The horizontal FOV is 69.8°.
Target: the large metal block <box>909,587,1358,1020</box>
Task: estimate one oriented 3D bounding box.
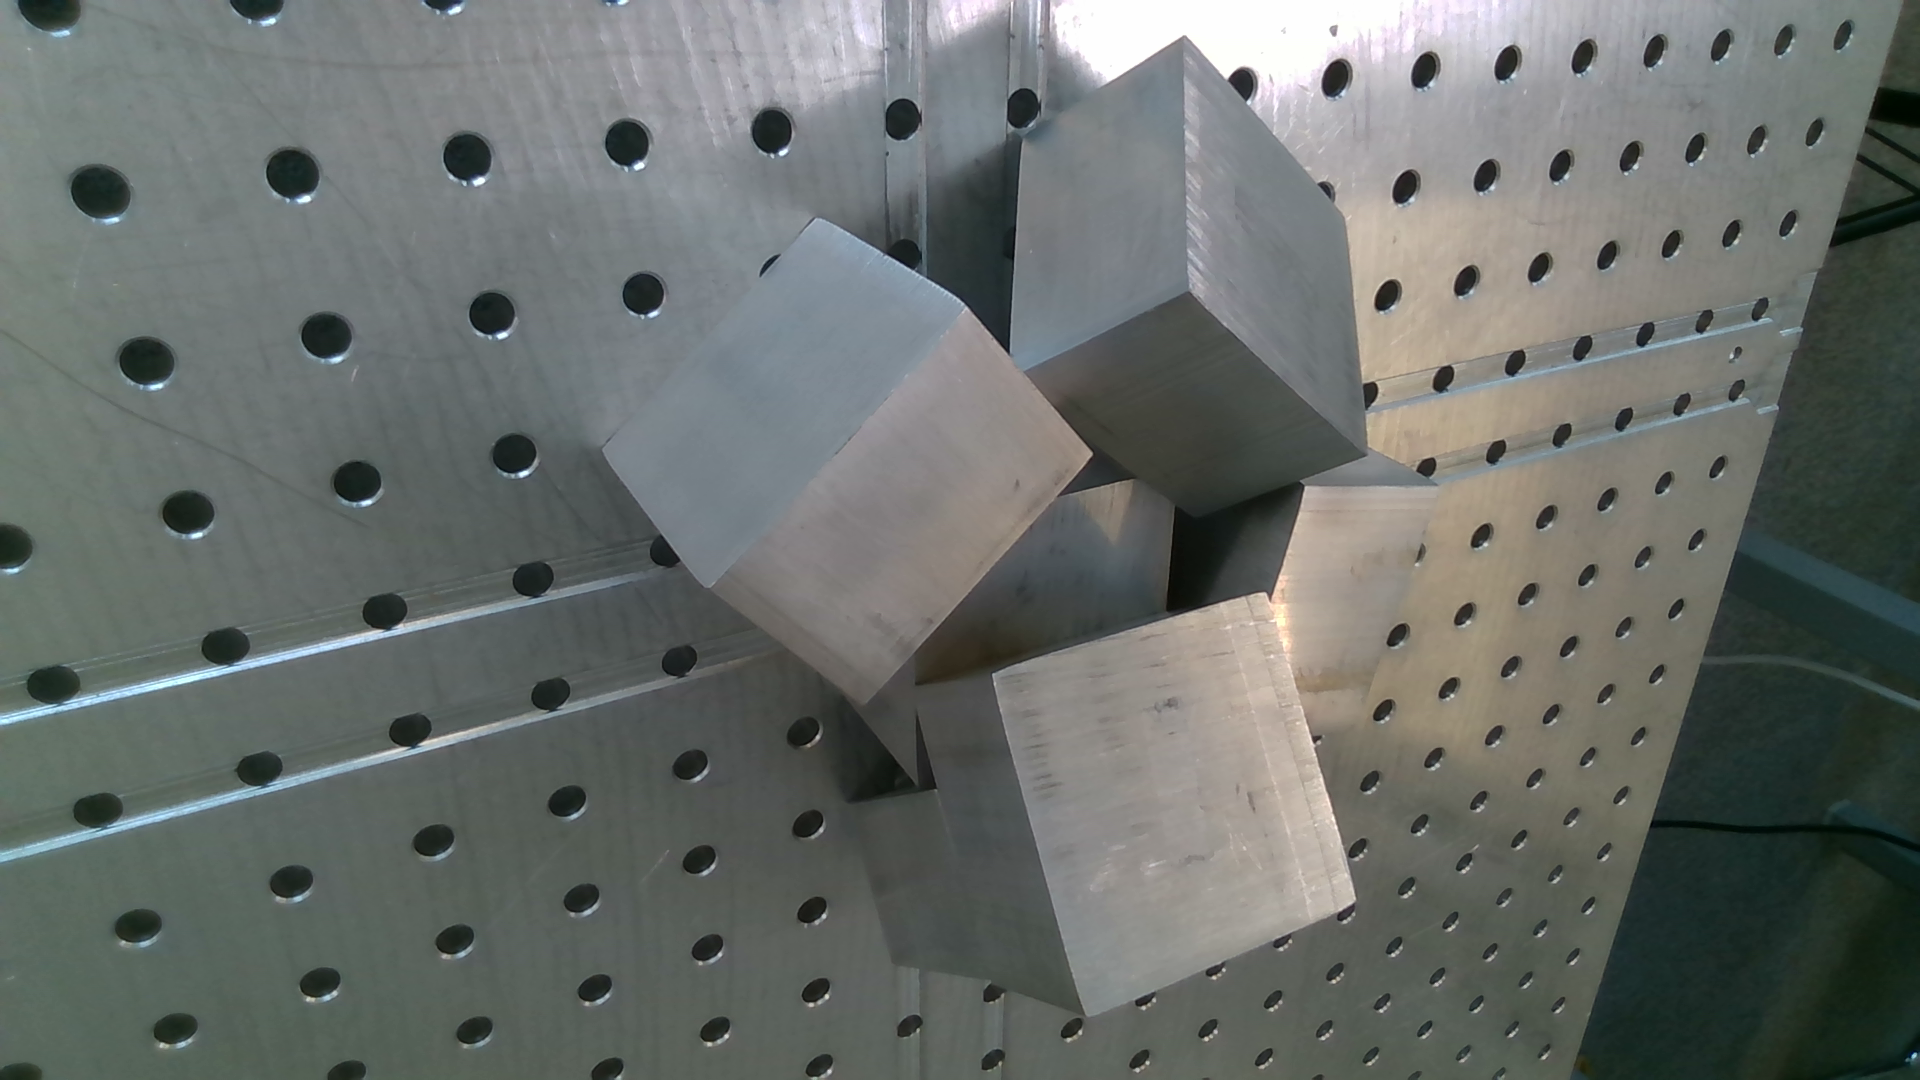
[{"bbox_3d":[0.043,0.063,0.347,0.080,0.050,0.080,-14,87,-26],"label":"large metal block"}]

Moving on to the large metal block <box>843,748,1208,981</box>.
[{"bbox_3d":[0.021,0.089,0.407,0.080,0.080,0.050,-15,84,-25],"label":"large metal block"}]

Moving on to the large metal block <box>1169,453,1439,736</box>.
[{"bbox_3d":[0.083,0.004,0.410,0.050,0.080,0.080,-1,115,-31],"label":"large metal block"}]

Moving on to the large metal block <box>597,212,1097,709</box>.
[{"bbox_3d":[-0.029,-0.022,0.325,0.080,0.080,0.050,-47,130,-1],"label":"large metal block"}]

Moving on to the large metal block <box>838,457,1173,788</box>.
[{"bbox_3d":[0.011,0.013,0.390,0.080,0.050,0.080,-14,121,-25],"label":"large metal block"}]

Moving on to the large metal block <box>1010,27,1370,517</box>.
[{"bbox_3d":[0.059,-0.064,0.350,0.050,0.080,0.080,-21,142,37],"label":"large metal block"}]
